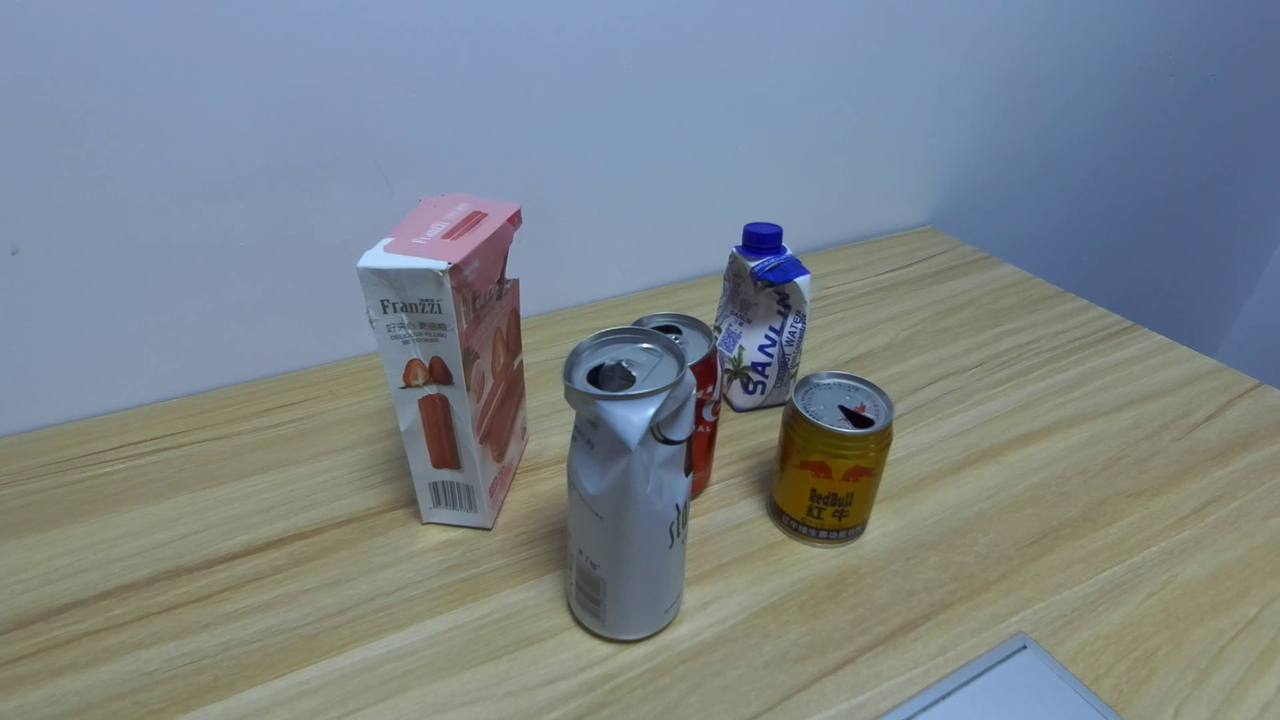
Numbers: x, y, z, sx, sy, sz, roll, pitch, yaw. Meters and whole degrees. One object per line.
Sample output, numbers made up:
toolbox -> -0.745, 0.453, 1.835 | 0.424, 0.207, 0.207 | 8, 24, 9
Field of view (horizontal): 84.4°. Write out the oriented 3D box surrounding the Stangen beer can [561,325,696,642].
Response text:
Stangen beer can -> -0.008, 0.069, 0.361 | 0.065, 0.166, 0.066 | 21, 39, 28

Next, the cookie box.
cookie box -> -0.110, 0.005, 0.433 | 0.059, 0.186, 0.105 | 7, 33, 7

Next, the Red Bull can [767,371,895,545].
Red Bull can -> 0.118, 0.061, 0.439 | 0.067, 0.093, 0.067 | 2, 33, -1

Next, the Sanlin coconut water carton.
Sanlin coconut water carton -> 0.088, -0.026, 0.524 | 0.057, 0.145, 0.068 | -13, 43, -9

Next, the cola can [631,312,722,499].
cola can -> 0.020, 0.031, 0.460 | 0.072, 0.117, 0.065 | 13, 34, 17
